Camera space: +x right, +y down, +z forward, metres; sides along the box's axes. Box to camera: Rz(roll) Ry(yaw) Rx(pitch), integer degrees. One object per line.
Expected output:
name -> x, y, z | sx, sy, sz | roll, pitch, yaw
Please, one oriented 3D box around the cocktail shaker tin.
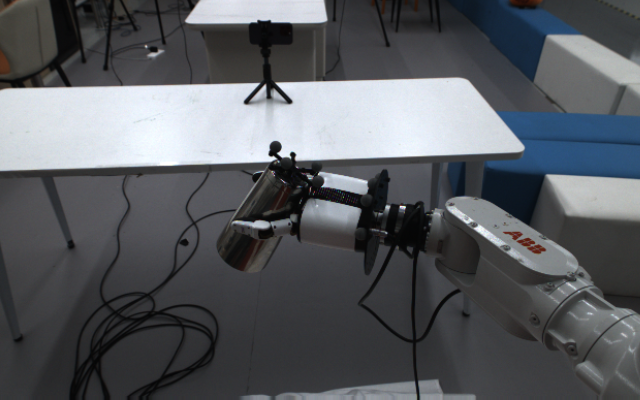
cocktail shaker tin -> -0.086, 0.021, 0.749 | 0.093, 0.170, 0.093 | 26, 32, -17
